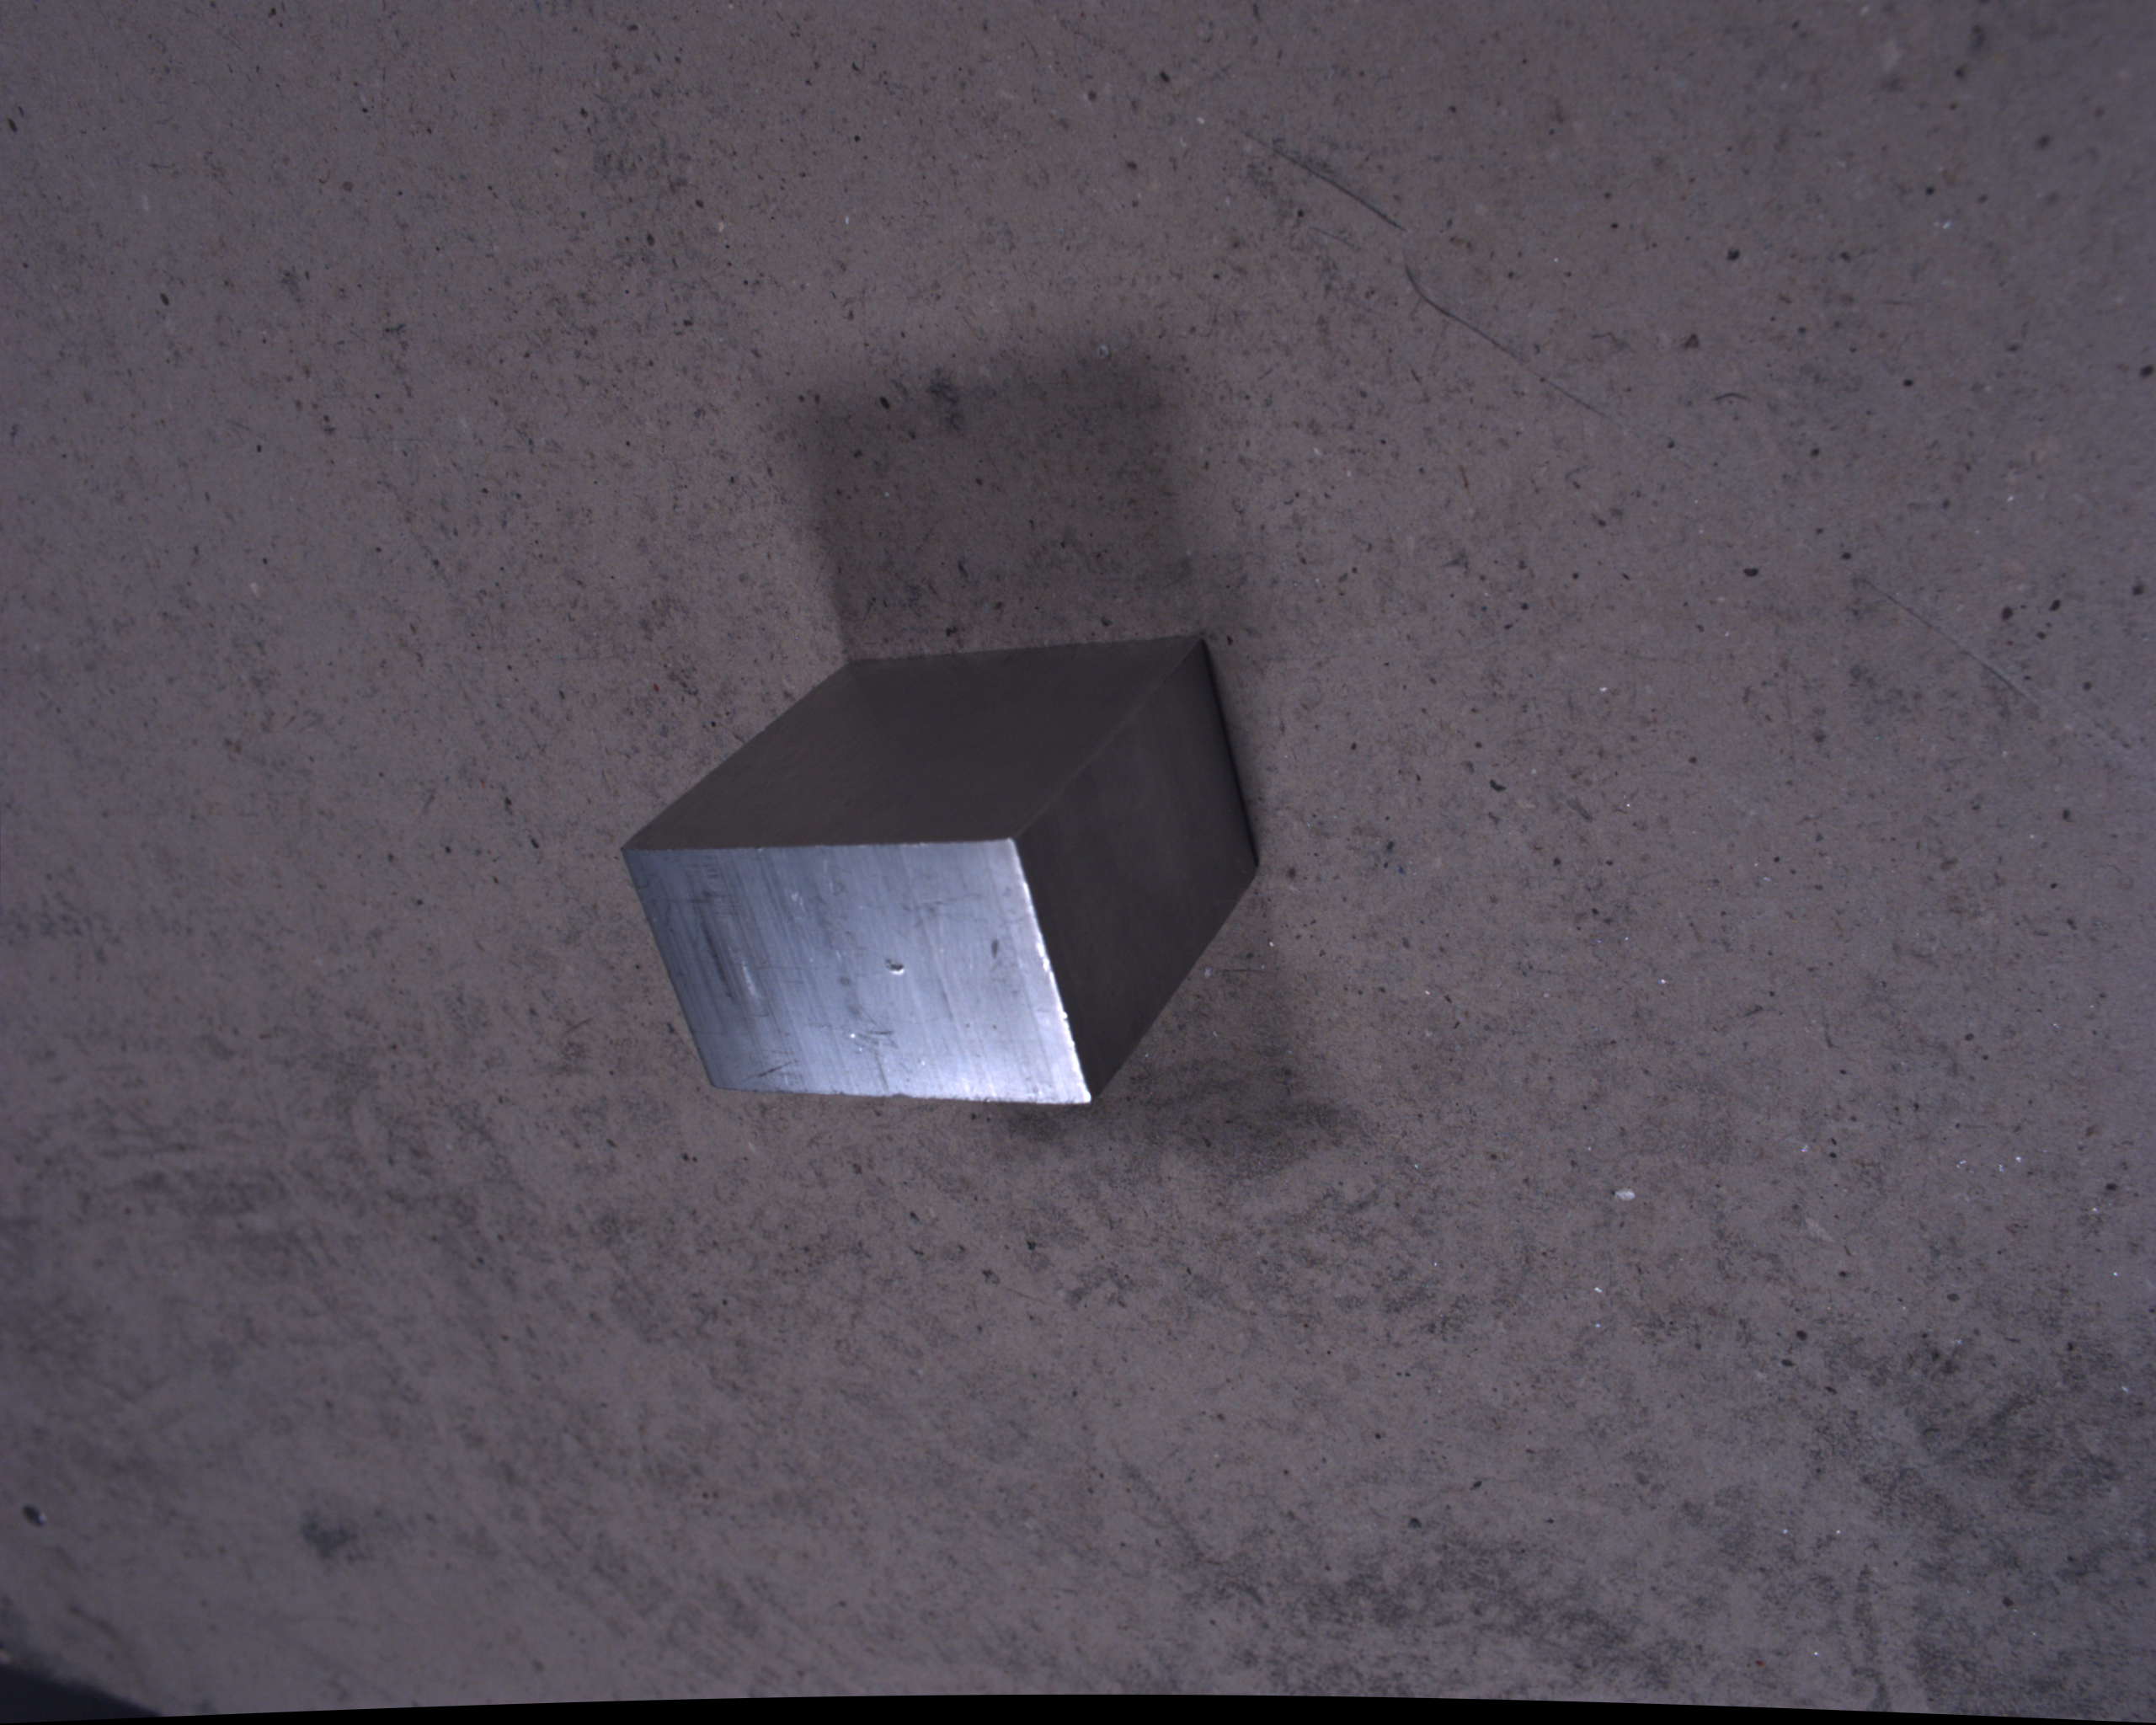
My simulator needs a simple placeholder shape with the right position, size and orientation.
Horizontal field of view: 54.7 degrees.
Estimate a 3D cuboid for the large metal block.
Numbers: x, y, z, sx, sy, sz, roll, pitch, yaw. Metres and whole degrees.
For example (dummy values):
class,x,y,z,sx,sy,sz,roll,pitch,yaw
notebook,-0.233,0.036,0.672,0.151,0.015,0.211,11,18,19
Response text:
class,x,y,z,sx,sy,sz,roll,pitch,yaw
large metal block,-0.022,0.000,0.383,0.080,0.080,0.050,-1,118,28
